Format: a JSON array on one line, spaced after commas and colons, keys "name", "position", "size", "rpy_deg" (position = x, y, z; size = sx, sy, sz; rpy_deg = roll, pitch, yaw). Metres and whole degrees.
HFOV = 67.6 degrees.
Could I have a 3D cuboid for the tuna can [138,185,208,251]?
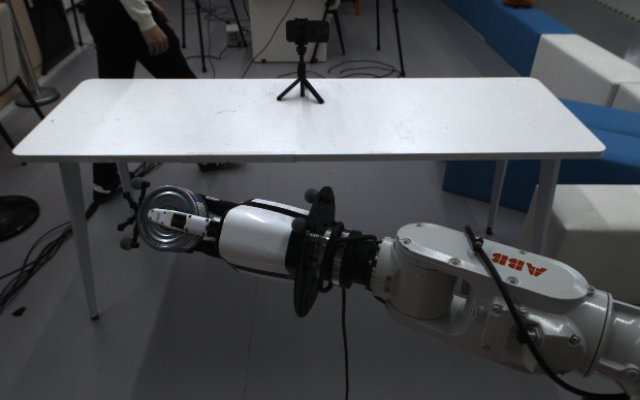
[{"name": "tuna can", "position": [-0.188, 0.023, 0.620], "size": [0.085, 0.085, 0.034], "rpy_deg": [10, -5, 11]}]
